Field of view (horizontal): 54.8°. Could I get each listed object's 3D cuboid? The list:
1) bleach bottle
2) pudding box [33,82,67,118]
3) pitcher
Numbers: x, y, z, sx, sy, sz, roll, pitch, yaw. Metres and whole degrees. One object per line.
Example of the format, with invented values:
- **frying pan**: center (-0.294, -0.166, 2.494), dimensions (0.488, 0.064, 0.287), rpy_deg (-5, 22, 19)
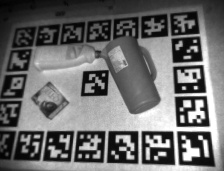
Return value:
- **bleach bottle**: center (-0.173, -0.119, 0.833), dimensions (0.250, 0.068, 0.102), rpy_deg (-5, 75, 8)
- **pudding box**: center (-0.234, 0.051, 0.796), dimensions (0.090, 0.039, 0.113), rpy_deg (-42, 70, -10)
- **pitcher**: center (0.075, -0.035, 0.737), dimensions (0.191, 0.132, 0.241), rpy_deg (-15, 71, -30)
